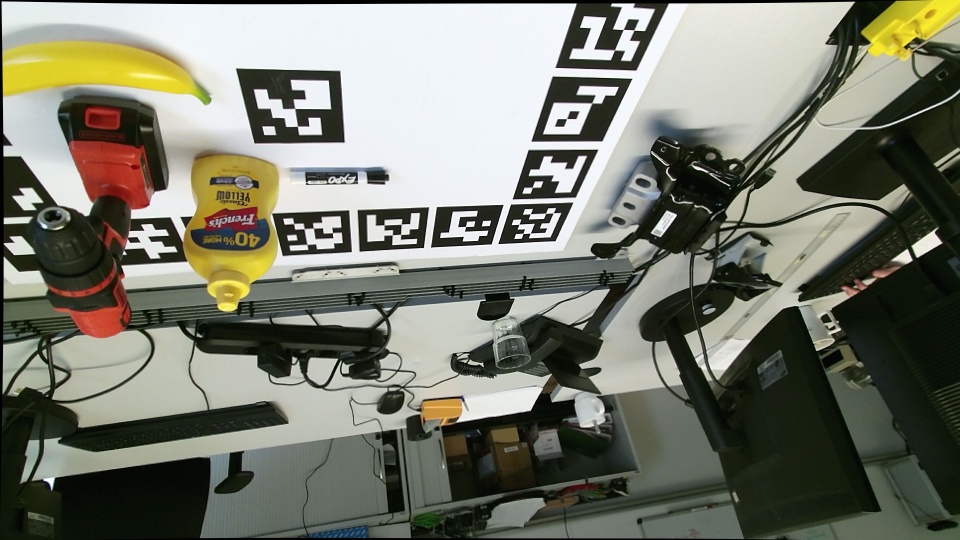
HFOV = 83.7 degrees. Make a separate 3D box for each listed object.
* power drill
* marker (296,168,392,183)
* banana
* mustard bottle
[{"bbox_3d":[-0.373,-0.068,0.536,0.057,0.186,0.185,5,144,-23],"label":"power drill"},{"bbox_3d":[-0.177,-0.125,0.705,0.121,0.019,0.019,-3,144,-15],"label":"marker"},{"bbox_3d":[-0.369,-0.197,0.521,0.198,0.038,0.074,-1,143,-21],"label":"banana"},{"bbox_3d":[-0.282,-0.052,0.621,0.096,0.190,0.058,3,143,-21],"label":"mustard bottle"}]
